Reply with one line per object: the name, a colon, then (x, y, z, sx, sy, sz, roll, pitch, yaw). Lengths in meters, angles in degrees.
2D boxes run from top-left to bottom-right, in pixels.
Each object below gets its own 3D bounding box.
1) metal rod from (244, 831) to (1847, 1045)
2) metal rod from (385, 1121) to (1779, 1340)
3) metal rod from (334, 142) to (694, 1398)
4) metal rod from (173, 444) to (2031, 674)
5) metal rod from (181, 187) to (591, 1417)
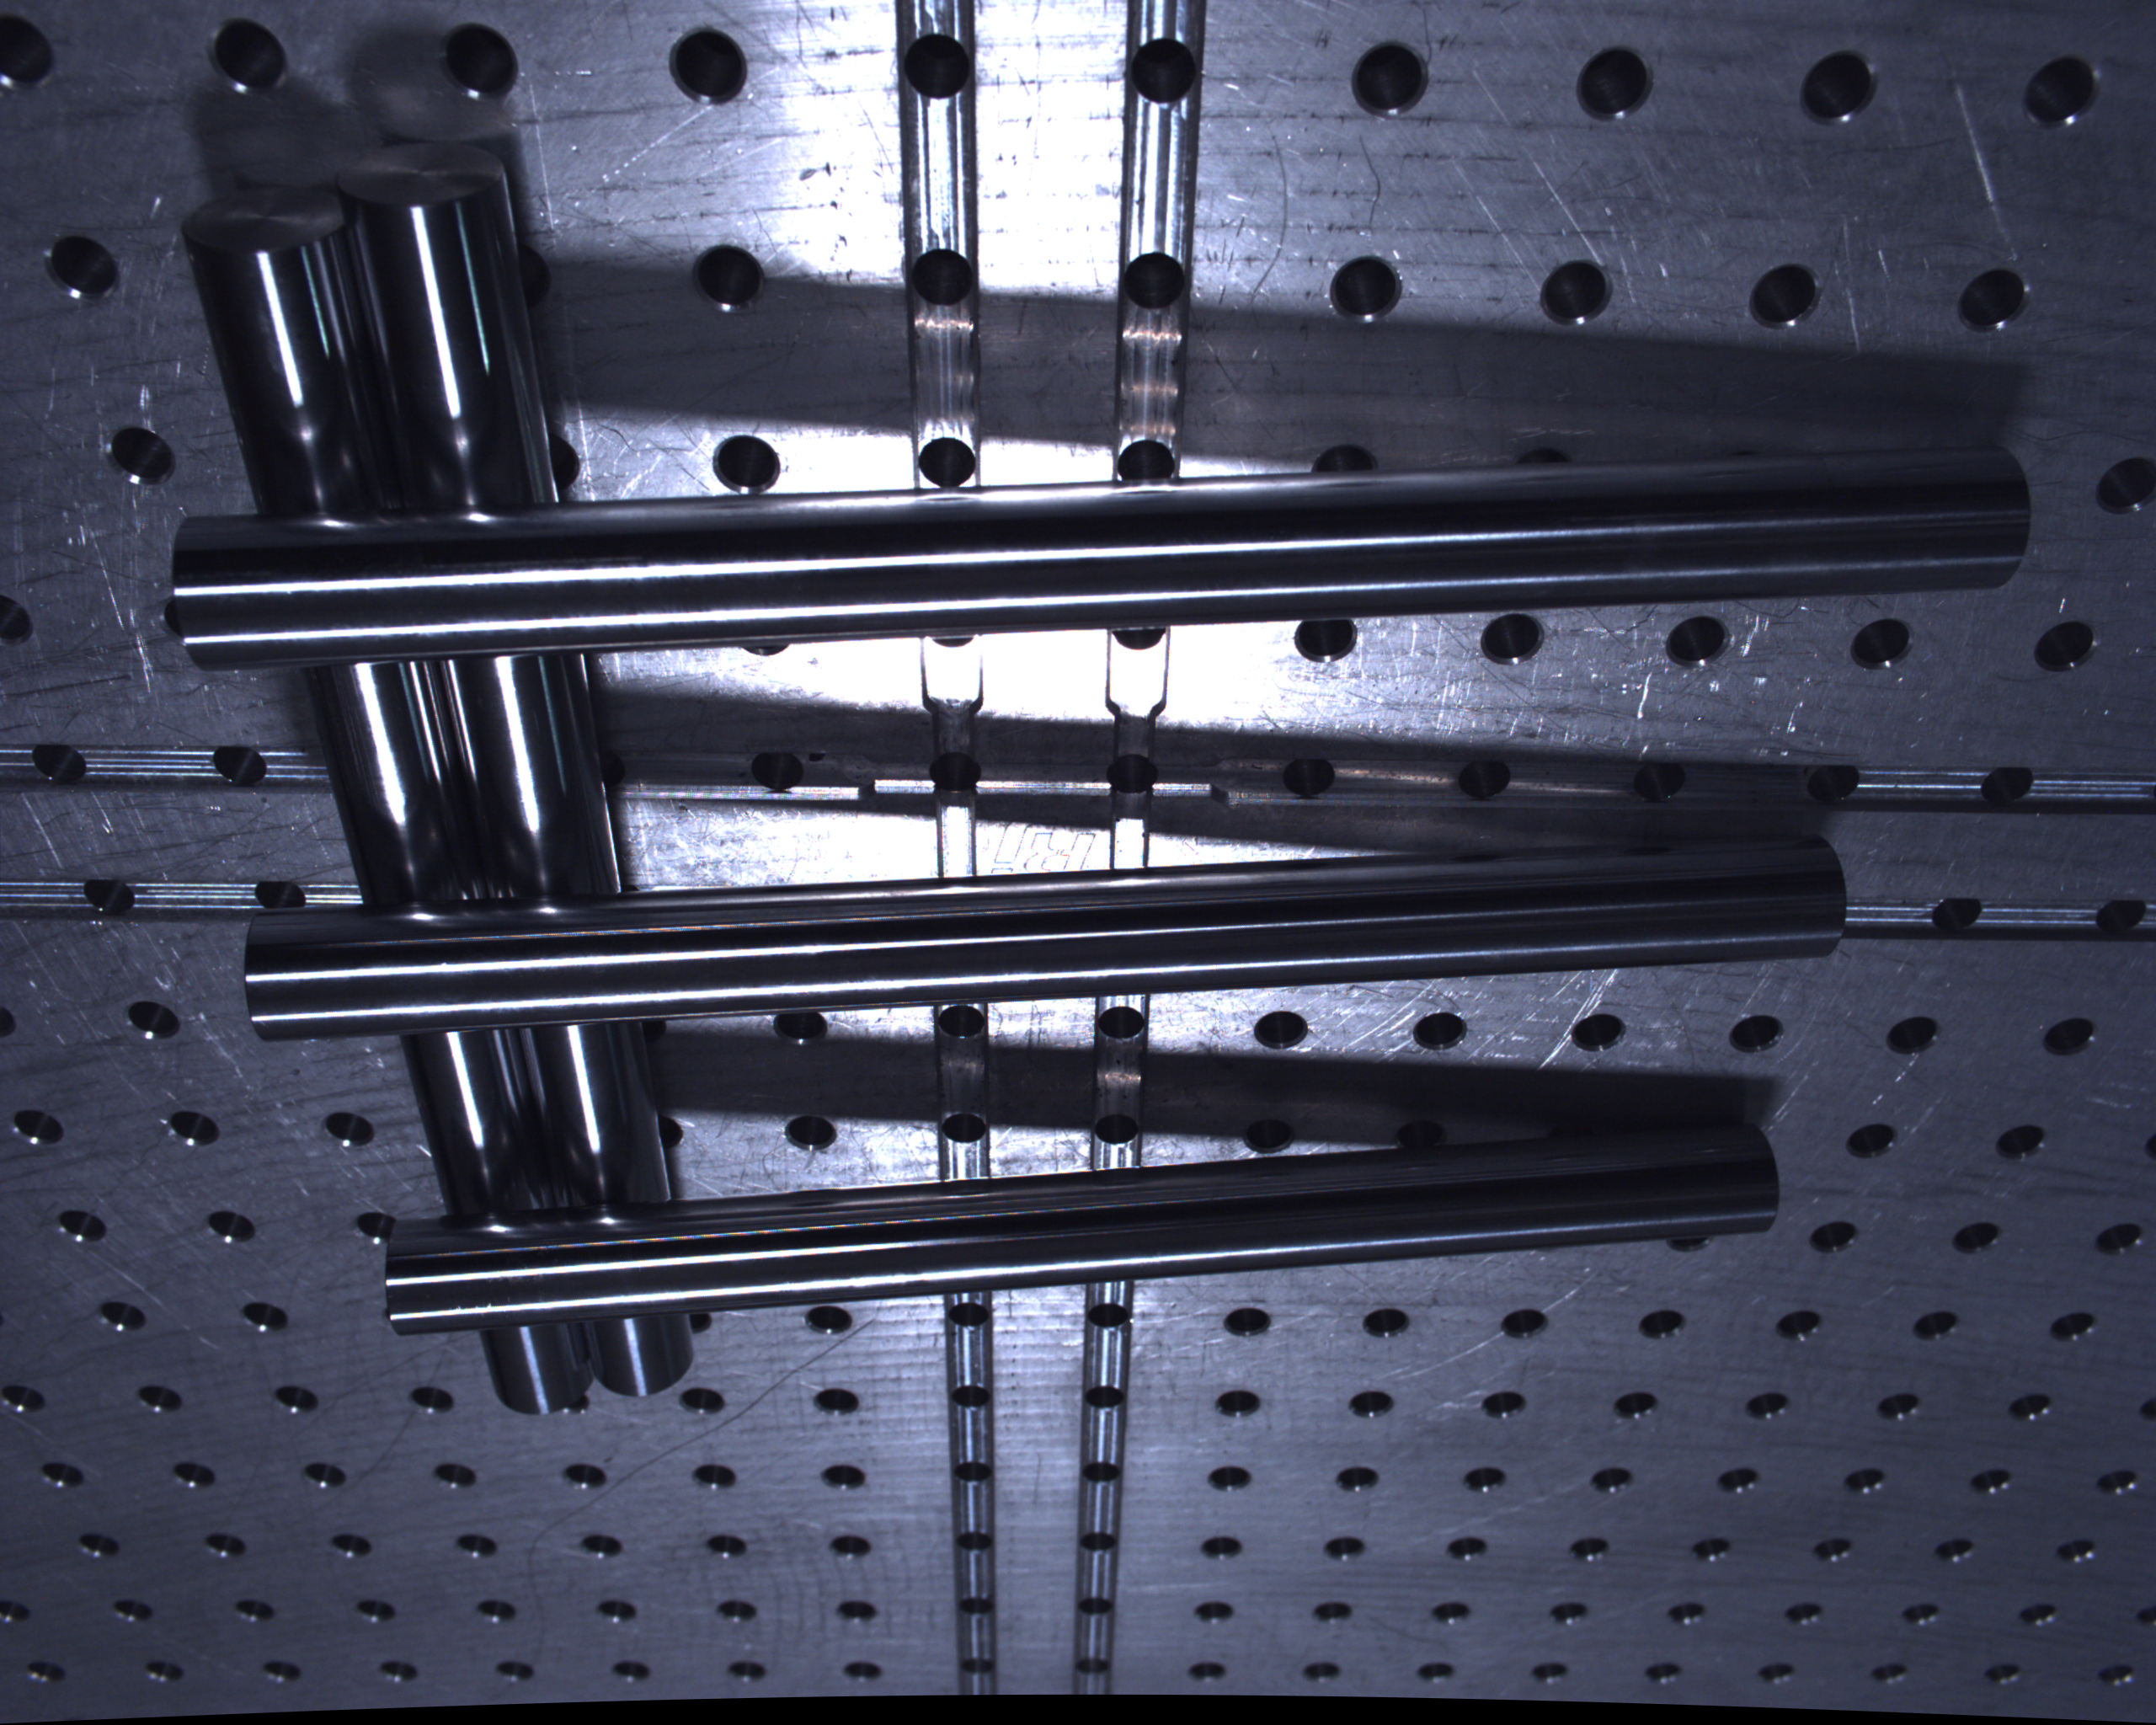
metal rod: (-0.001, 0.014, 0.403, 0.302, 0.025, 0.025, -3, 131, -6)
metal rod: (0.005, 0.080, 0.461, 0.302, 0.025, 0.025, -3, 131, -6)
metal rod: (-0.104, 0.008, 0.416, 0.025, 0.025, 0.298, 1, 130, -1)
metal rod: (0.009, -0.052, 0.349, 0.302, 0.025, 0.025, -3, 130, -6)
metal rod: (-0.129, 0.013, 0.420, 0.025, 0.025, 0.298, 1, 130, -1)
